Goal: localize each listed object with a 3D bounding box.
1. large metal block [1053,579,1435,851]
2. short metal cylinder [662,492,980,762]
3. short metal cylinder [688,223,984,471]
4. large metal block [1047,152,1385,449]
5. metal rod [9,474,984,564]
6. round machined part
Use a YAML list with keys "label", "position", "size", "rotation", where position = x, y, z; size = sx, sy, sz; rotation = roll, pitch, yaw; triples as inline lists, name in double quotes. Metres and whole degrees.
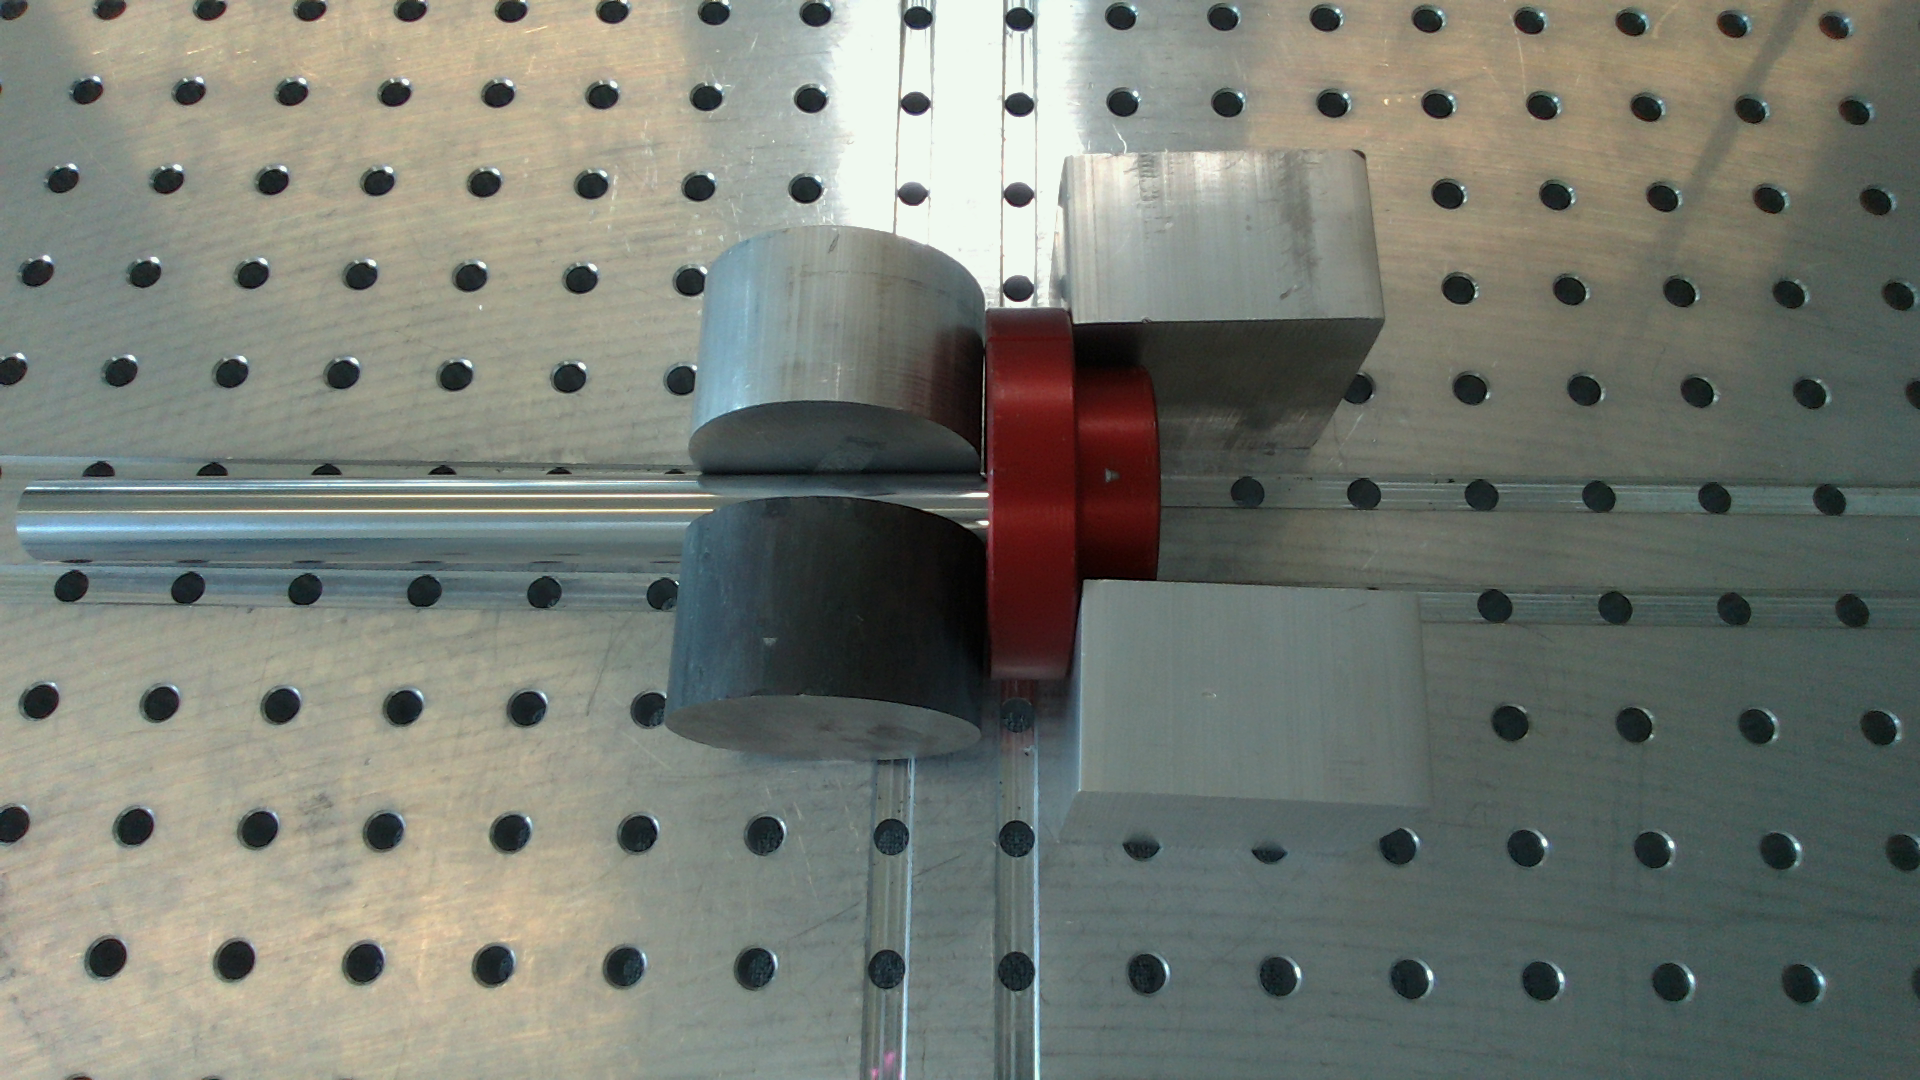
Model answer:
- label: "large metal block"
  position: [0.067, 0.048, 0.351]
  size: [0.080, 0.080, 0.050]
  rotation: [3, 70, 1]
- label: "short metal cylinder"
  position: [-0.034, 0.025, 0.358]
  size: [0.080, 0.080, 0.050]
  rotation: [1, 70, 1]
- label: "short metal cylinder"
  position: [-0.033, -0.045, 0.384]
  size: [0.080, 0.080, 0.050]
  rotation: [1, 70, 0]
- label: "large metal block"
  position: [0.067, -0.065, 0.393]
  size: [0.080, 0.080, 0.050]
  rotation: [0, 70, 0]
- label: "metal rod"
  position: [-0.116, -0.006, 0.386]
  size: [0.300, 0.025, 0.025]
  rotation: [0, 70, 4]
- label: "round machined part"
  position: [0.028, -0.012, 0.362]
  size: [0.042, 0.098, 0.098]
  rotation: [1, 70, 0]
